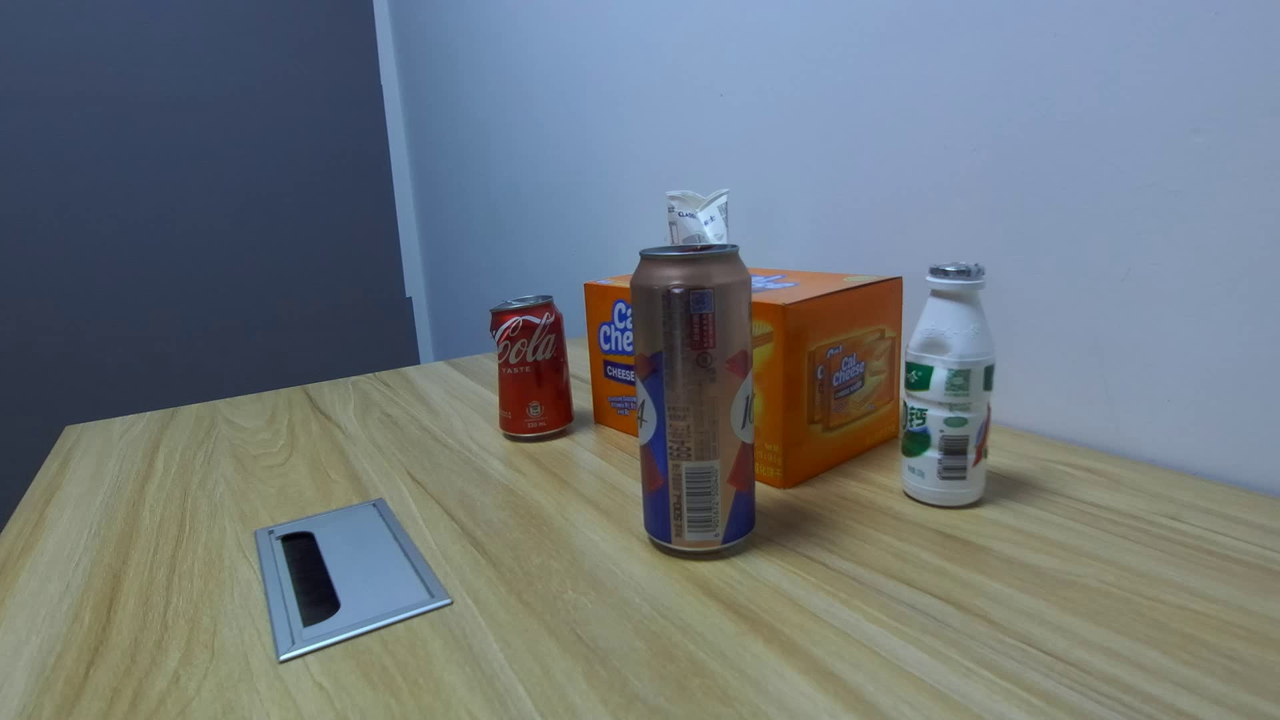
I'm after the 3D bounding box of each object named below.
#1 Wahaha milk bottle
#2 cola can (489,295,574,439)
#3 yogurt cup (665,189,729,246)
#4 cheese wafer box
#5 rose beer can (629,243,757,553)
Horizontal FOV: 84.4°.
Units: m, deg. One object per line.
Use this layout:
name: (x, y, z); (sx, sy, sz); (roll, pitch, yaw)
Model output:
Wahaha milk bottle: (0.191, 0.020, 0.440); (0.053, 0.136, 0.053); (-3, 16, 1)
cola can: (-0.093, 0.006, 0.610); (0.065, 0.117, 0.072); (1, 15, 13)
yogurt cup: (0.052, -0.114, 0.629); (0.055, 0.072, 0.055); (-1, 17, 9)
cheese wafer box: (0.076, -0.004, 0.578); (0.149, 0.129, 0.220); (-15, 19, -39)
rose beer can: (0.031, 0.023, 0.401); (0.068, 0.169, 0.068); (-4, 14, 1)
